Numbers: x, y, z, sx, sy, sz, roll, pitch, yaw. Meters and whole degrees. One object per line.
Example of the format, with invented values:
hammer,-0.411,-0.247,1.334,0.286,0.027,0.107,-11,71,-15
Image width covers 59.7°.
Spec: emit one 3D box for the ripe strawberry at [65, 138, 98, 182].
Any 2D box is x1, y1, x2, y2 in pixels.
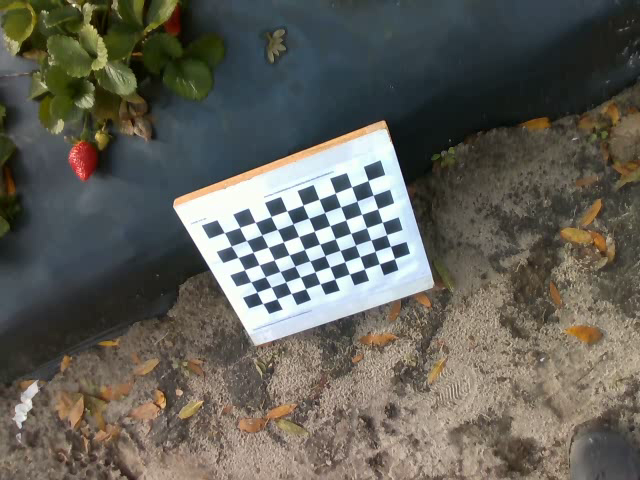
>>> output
ripe strawberry,-0.312,-0.103,0.734,0.045,0.058,0.051,-16,-15,4
